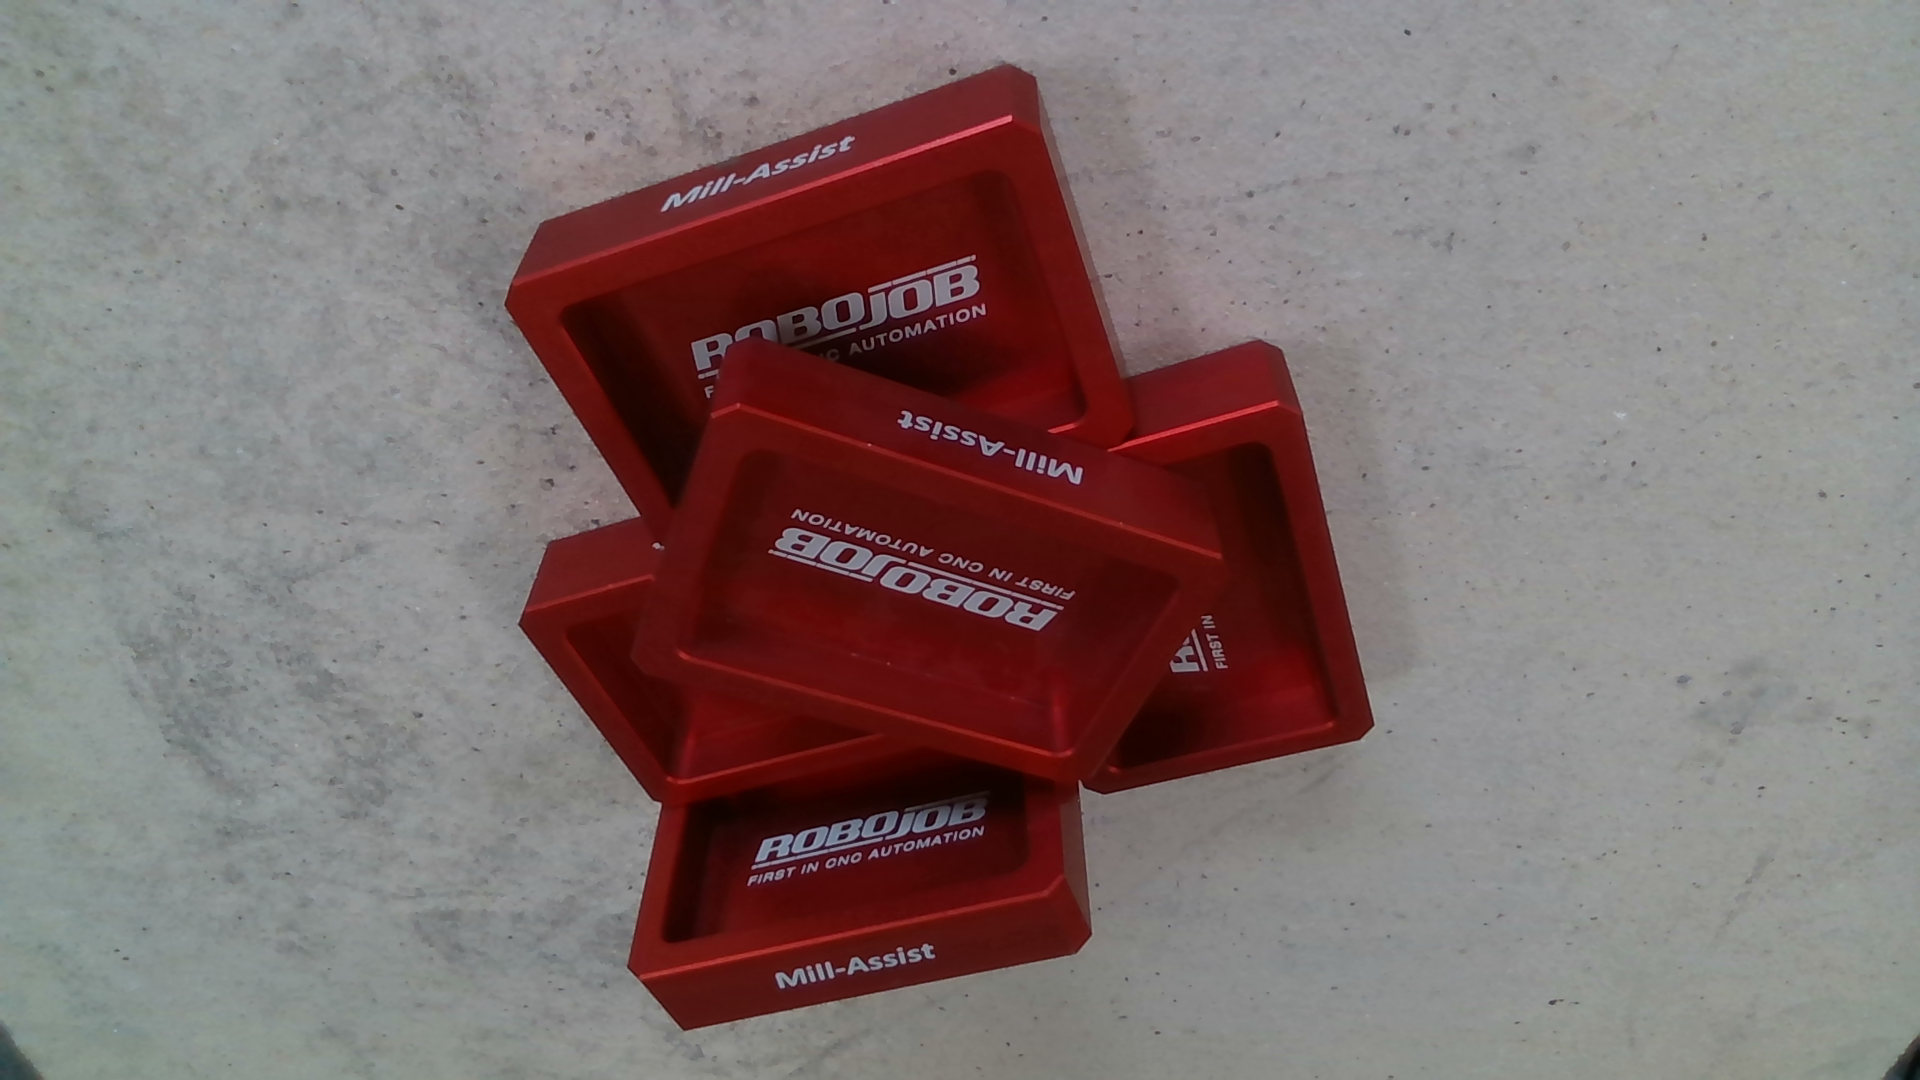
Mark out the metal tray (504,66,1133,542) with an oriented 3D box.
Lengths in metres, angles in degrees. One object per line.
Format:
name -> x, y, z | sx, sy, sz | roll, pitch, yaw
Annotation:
metal tray -> -0.032, -0.051, 0.341 | 0.130, 0.030, 0.090 | -15, 128, 12

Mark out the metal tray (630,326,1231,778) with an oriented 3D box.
metal tray -> -0.009, 0.008, 0.355 | 0.130, 0.030, 0.090 | 17, 127, -13

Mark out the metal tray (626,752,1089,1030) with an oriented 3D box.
metal tray -> -0.030, 0.092, 0.421 | 0.130, 0.090, 0.030 | -14, 129, 12

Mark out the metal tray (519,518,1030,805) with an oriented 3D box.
metal tray -> -0.049, 0.027, 0.406 | 0.130, 0.030, 0.090 | -14, 128, 13

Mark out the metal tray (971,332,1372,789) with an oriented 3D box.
metal tray -> 0.062, 0.012, 0.397 | 0.090, 0.030, 0.130 | -14, 128, 12
